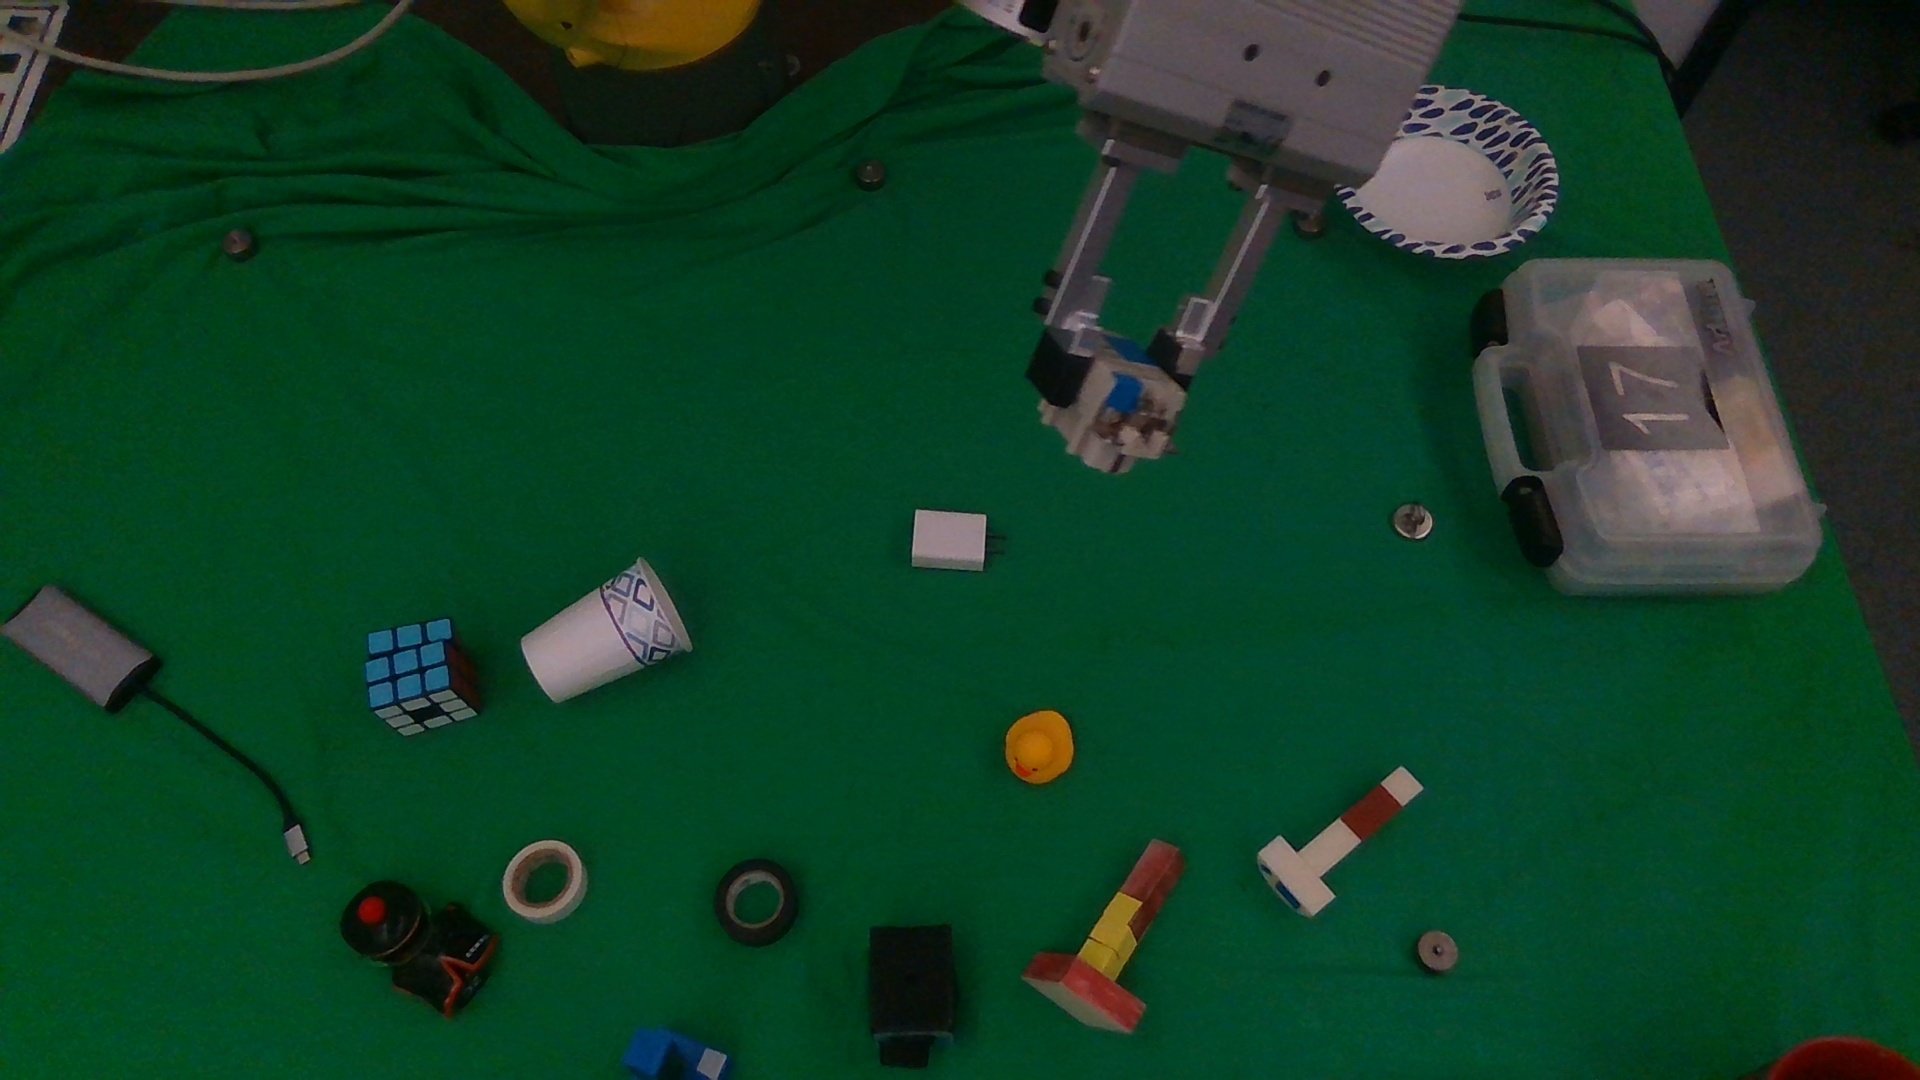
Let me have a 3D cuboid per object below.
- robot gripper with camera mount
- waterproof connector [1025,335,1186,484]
[{"bbox_3d":[0.044,-0.157,0.514,0.118,0.159,0.194,7,33,-32],"label":"robot gripper with camera mount"},{"bbox_3d":[0.050,-0.047,0.493,0.034,0.037,0.065,3,35,-33],"label":"waterproof connector"}]
